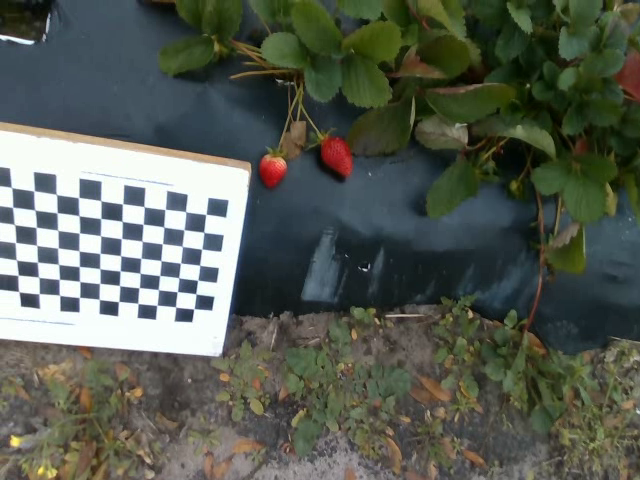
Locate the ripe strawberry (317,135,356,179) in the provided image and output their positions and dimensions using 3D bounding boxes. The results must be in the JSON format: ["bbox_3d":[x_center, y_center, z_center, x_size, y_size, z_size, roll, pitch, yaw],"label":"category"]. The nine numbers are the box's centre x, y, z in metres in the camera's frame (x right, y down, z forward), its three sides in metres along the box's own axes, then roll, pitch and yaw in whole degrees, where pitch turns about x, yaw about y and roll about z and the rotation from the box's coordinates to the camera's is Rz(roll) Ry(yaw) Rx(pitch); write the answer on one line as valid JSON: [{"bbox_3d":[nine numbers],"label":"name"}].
[{"bbox_3d":[0.033,-0.105,1.232,0.044,0.059,0.042,-29,9,14],"label":"ripe strawberry"}]

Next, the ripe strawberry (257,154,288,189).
[{"bbox_3d":[-0.041,-0.086,1.207,0.036,0.041,0.028,11,7,-10],"label":"ripe strawberry"}]
